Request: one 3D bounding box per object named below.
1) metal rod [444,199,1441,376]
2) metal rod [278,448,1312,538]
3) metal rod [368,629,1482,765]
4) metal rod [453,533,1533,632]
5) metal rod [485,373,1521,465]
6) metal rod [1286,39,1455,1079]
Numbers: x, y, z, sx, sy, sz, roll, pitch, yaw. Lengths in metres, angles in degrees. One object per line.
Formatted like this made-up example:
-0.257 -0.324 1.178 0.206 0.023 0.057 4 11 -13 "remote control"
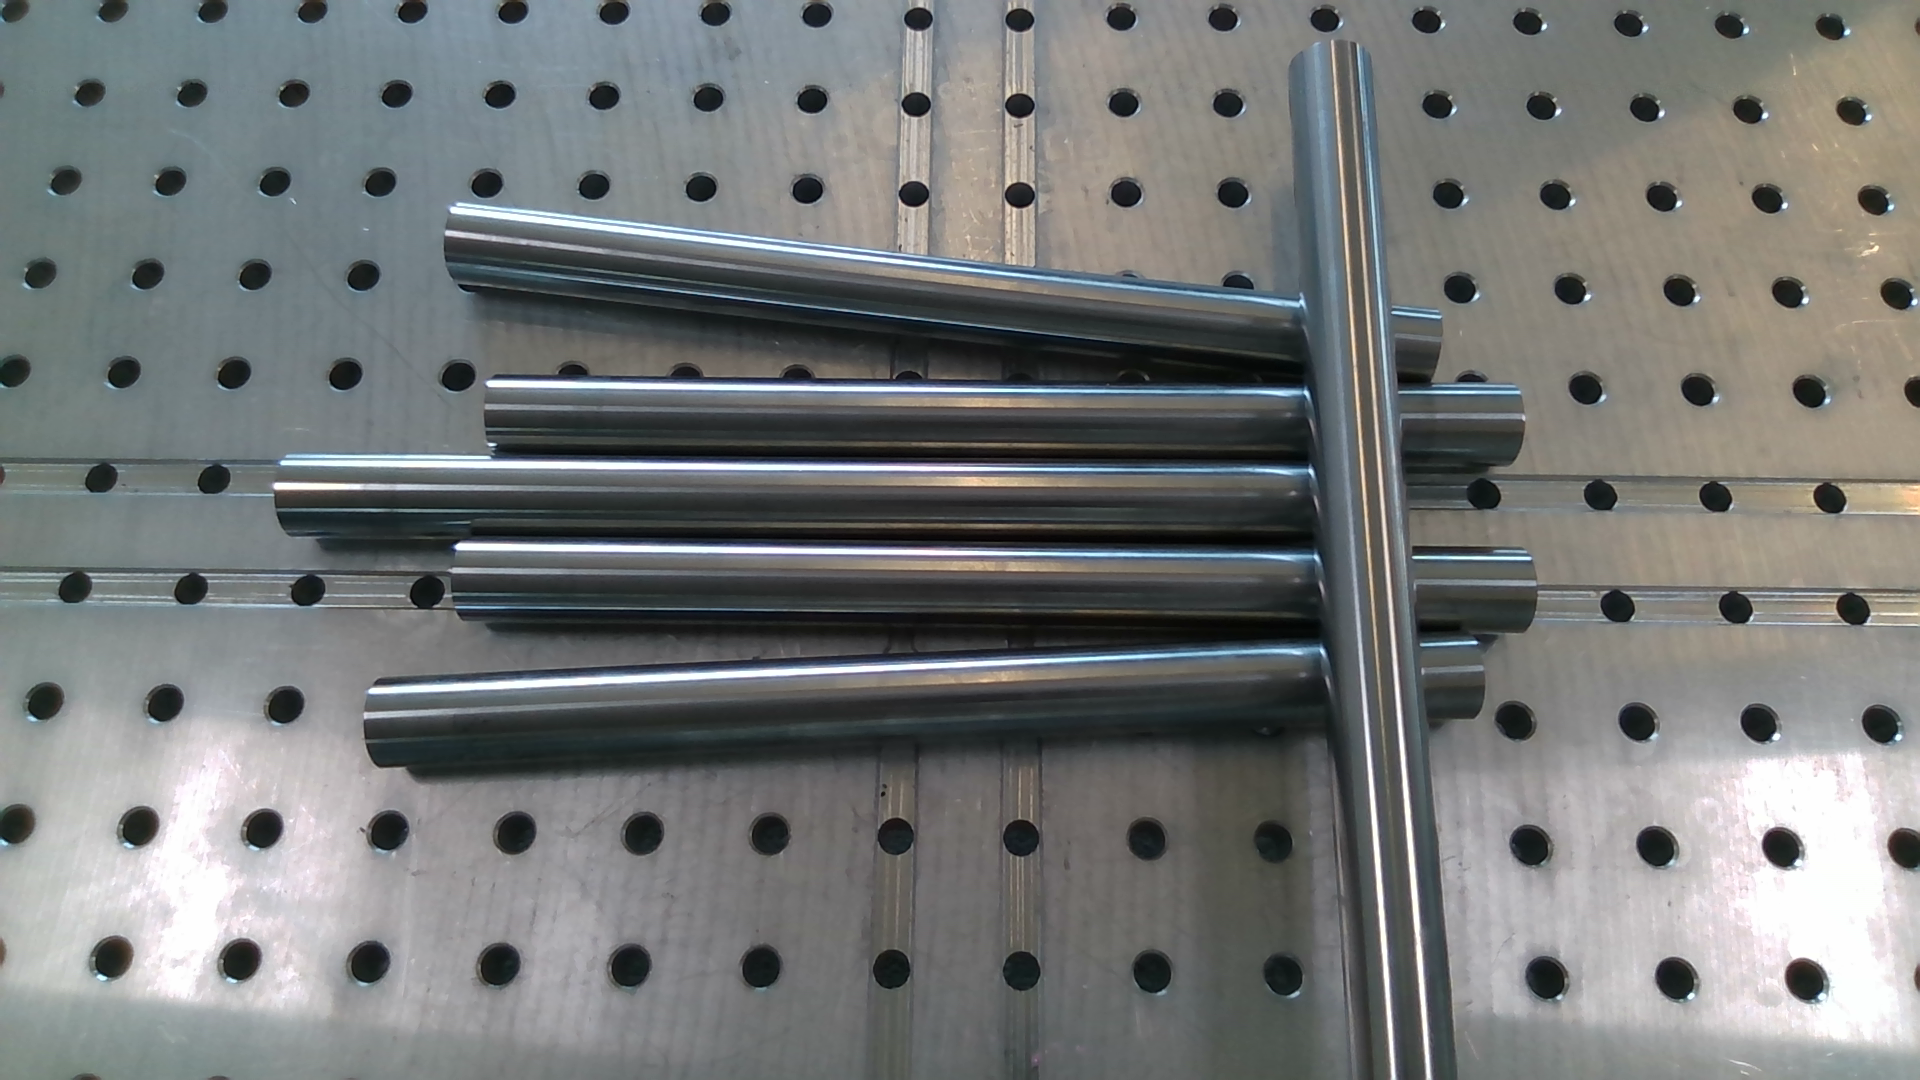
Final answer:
-0.007 -0.076 0.424 0.300 0.025 0.025 7 70 2 "metal rod"
-0.044 -0.013 0.402 0.300 0.025 0.025 1 70 1 "metal rod"
-0.009 0.044 0.383 0.300 0.025 0.025 -2 70 -1 "metal rod"
0.009 0.012 0.395 0.300 0.025 0.025 1 70 0 "metal rod"
0.012 -0.036 0.411 0.300 0.025 0.025 0 70 0 "metal rod"
0.109 -0.005 0.373 0.025 0.025 0.299 2 70 1 "metal rod"
